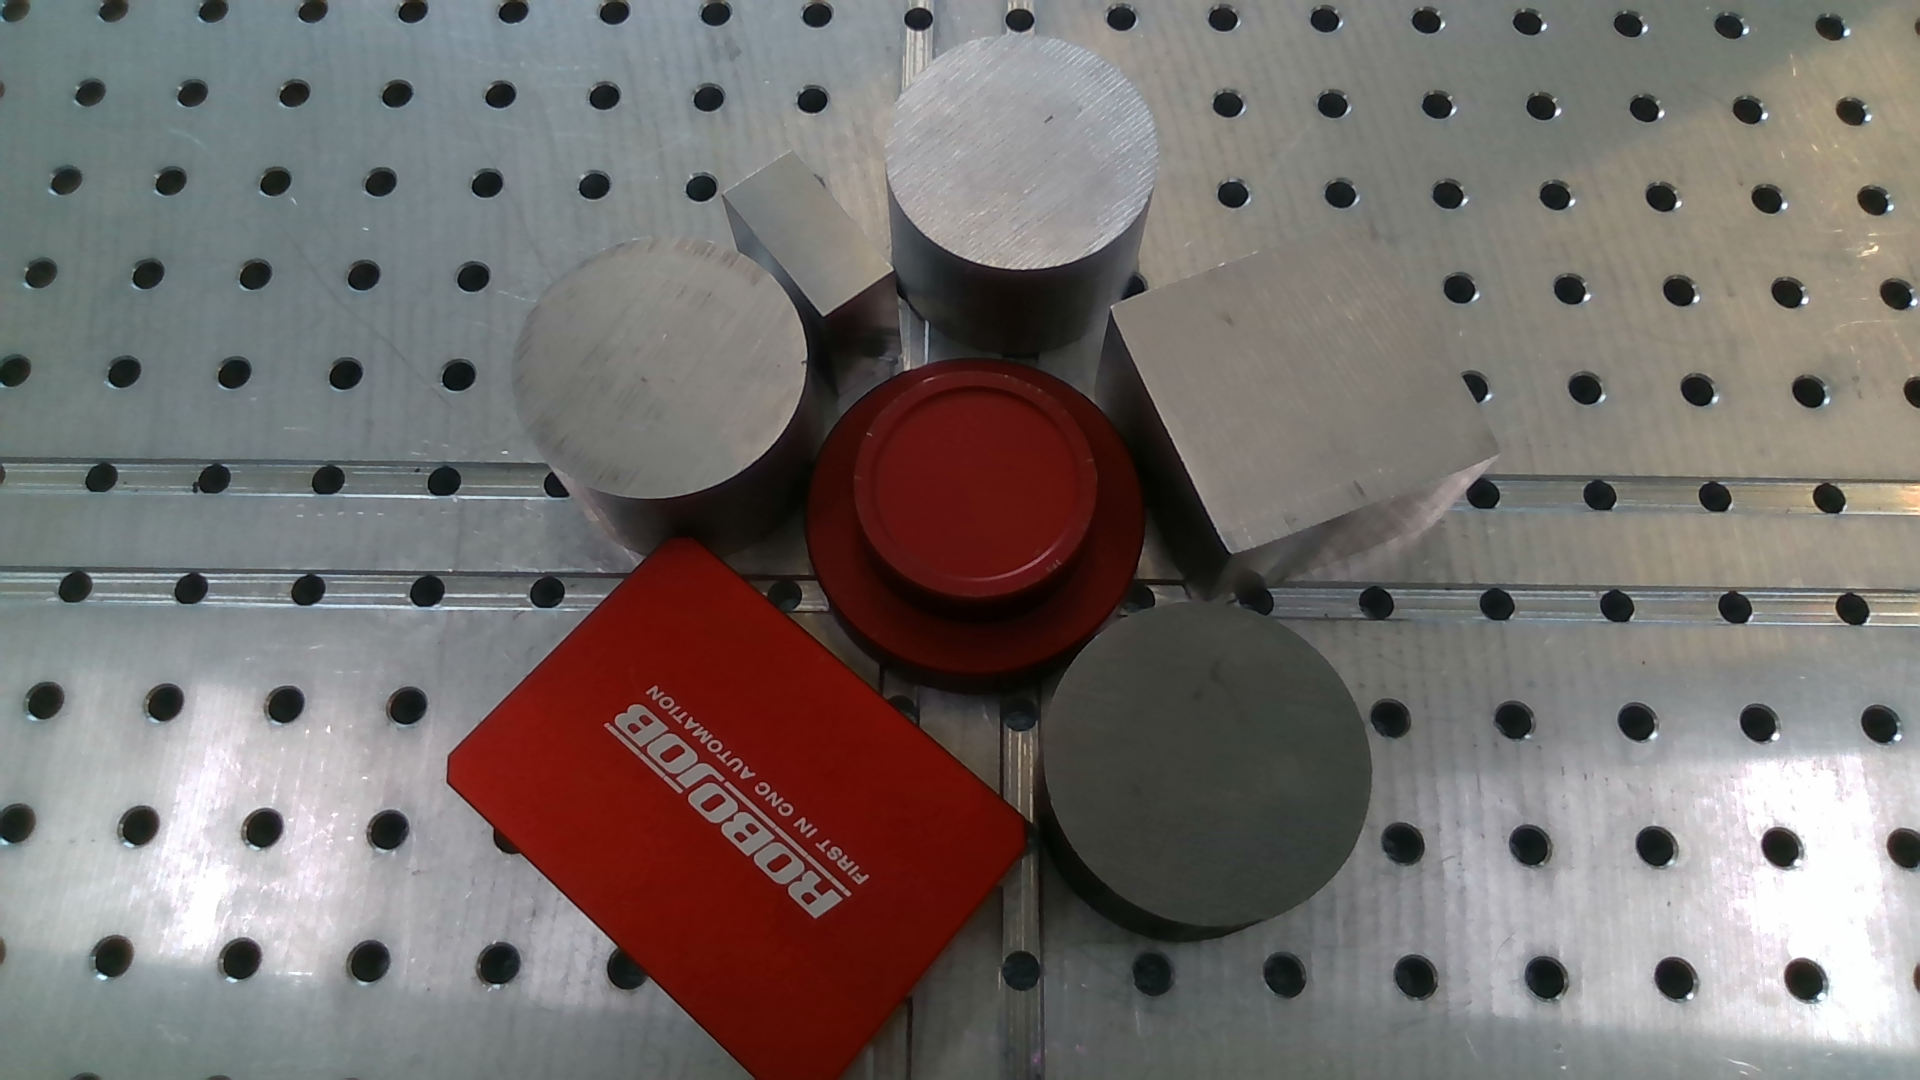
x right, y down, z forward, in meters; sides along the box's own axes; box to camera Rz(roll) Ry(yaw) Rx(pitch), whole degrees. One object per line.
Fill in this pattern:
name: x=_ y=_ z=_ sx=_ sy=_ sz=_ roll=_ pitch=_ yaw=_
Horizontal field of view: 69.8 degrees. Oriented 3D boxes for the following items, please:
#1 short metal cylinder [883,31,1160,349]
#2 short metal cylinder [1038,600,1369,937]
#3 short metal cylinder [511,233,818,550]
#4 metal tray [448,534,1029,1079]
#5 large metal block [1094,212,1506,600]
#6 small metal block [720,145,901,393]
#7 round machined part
short metal cylinder: x=0.018 y=-0.106 z=0.422 sx=0.080 sy=0.050 sz=0.080 roll=0 pitch=70 yaw=0
short metal cylinder: x=0.060 y=0.061 z=0.362 sx=0.080 sy=0.050 sz=0.080 roll=0 pitch=70 yaw=0
short metal cylinder: x=-0.082 y=-0.041 z=0.399 sx=0.080 sy=0.050 sz=0.080 roll=0 pitch=70 yaw=0
metal tray: x=-0.058 y=0.072 z=0.369 sx=0.130 sy=0.030 sz=0.090 roll=39 pitch=74 yaw=12
large metal block: x=0.094 y=-0.036 z=0.398 sx=0.080 sy=0.050 sz=0.080 roll=-20 pitch=72 yaw=-7
small metal block: x=-0.043 y=-0.080 z=0.412 sx=0.025 sy=0.050 sz=0.050 roll=-36 pitch=74 yaw=-12
round machined part: x=0.004 y=-0.010 z=0.392 sx=0.098 sy=0.042 sz=0.098 roll=0 pitch=70 yaw=0
